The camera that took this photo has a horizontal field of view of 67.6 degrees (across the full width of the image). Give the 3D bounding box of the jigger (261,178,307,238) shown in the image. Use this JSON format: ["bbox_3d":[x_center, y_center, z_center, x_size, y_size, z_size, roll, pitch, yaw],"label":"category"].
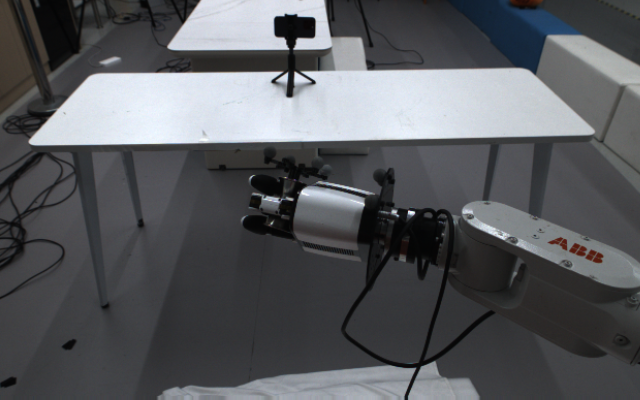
[{"bbox_3d":[-0.043,0.007,0.648,0.043,0.071,0.043,15,-7,2],"label":"jigger"}]
